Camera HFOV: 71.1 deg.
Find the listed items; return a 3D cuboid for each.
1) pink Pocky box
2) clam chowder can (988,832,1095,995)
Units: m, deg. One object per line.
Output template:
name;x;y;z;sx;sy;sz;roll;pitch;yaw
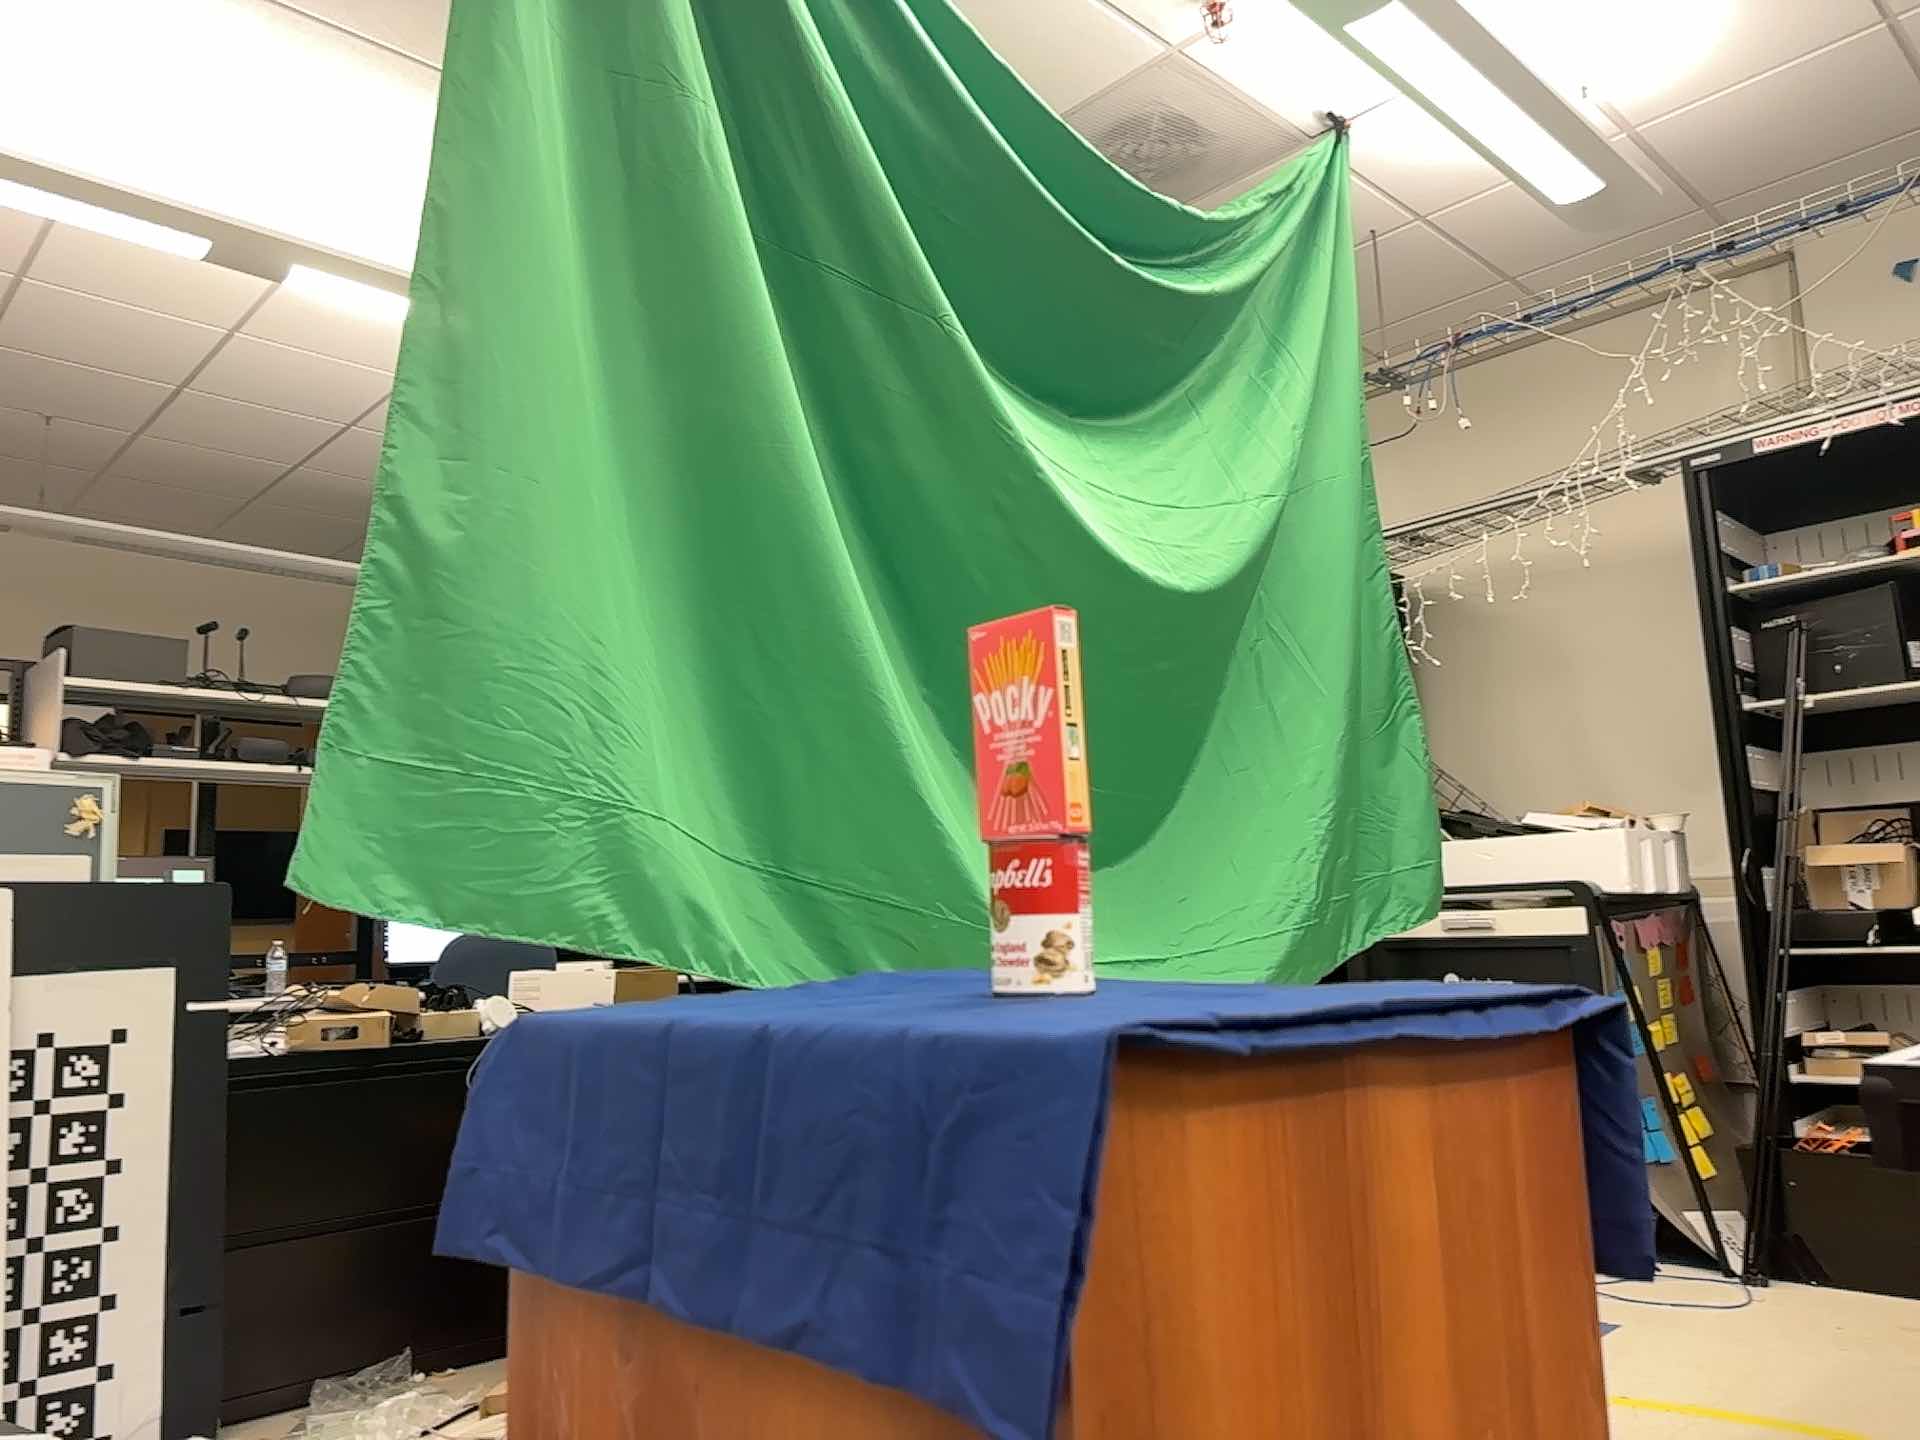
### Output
pink Pocky box;0.046;0.000;0.898;0.029;0.155;0.084;5;-11;-38
clam chowder can;0.053;0.127;0.879;0.068;0.102;0.068;-1;-9;0
